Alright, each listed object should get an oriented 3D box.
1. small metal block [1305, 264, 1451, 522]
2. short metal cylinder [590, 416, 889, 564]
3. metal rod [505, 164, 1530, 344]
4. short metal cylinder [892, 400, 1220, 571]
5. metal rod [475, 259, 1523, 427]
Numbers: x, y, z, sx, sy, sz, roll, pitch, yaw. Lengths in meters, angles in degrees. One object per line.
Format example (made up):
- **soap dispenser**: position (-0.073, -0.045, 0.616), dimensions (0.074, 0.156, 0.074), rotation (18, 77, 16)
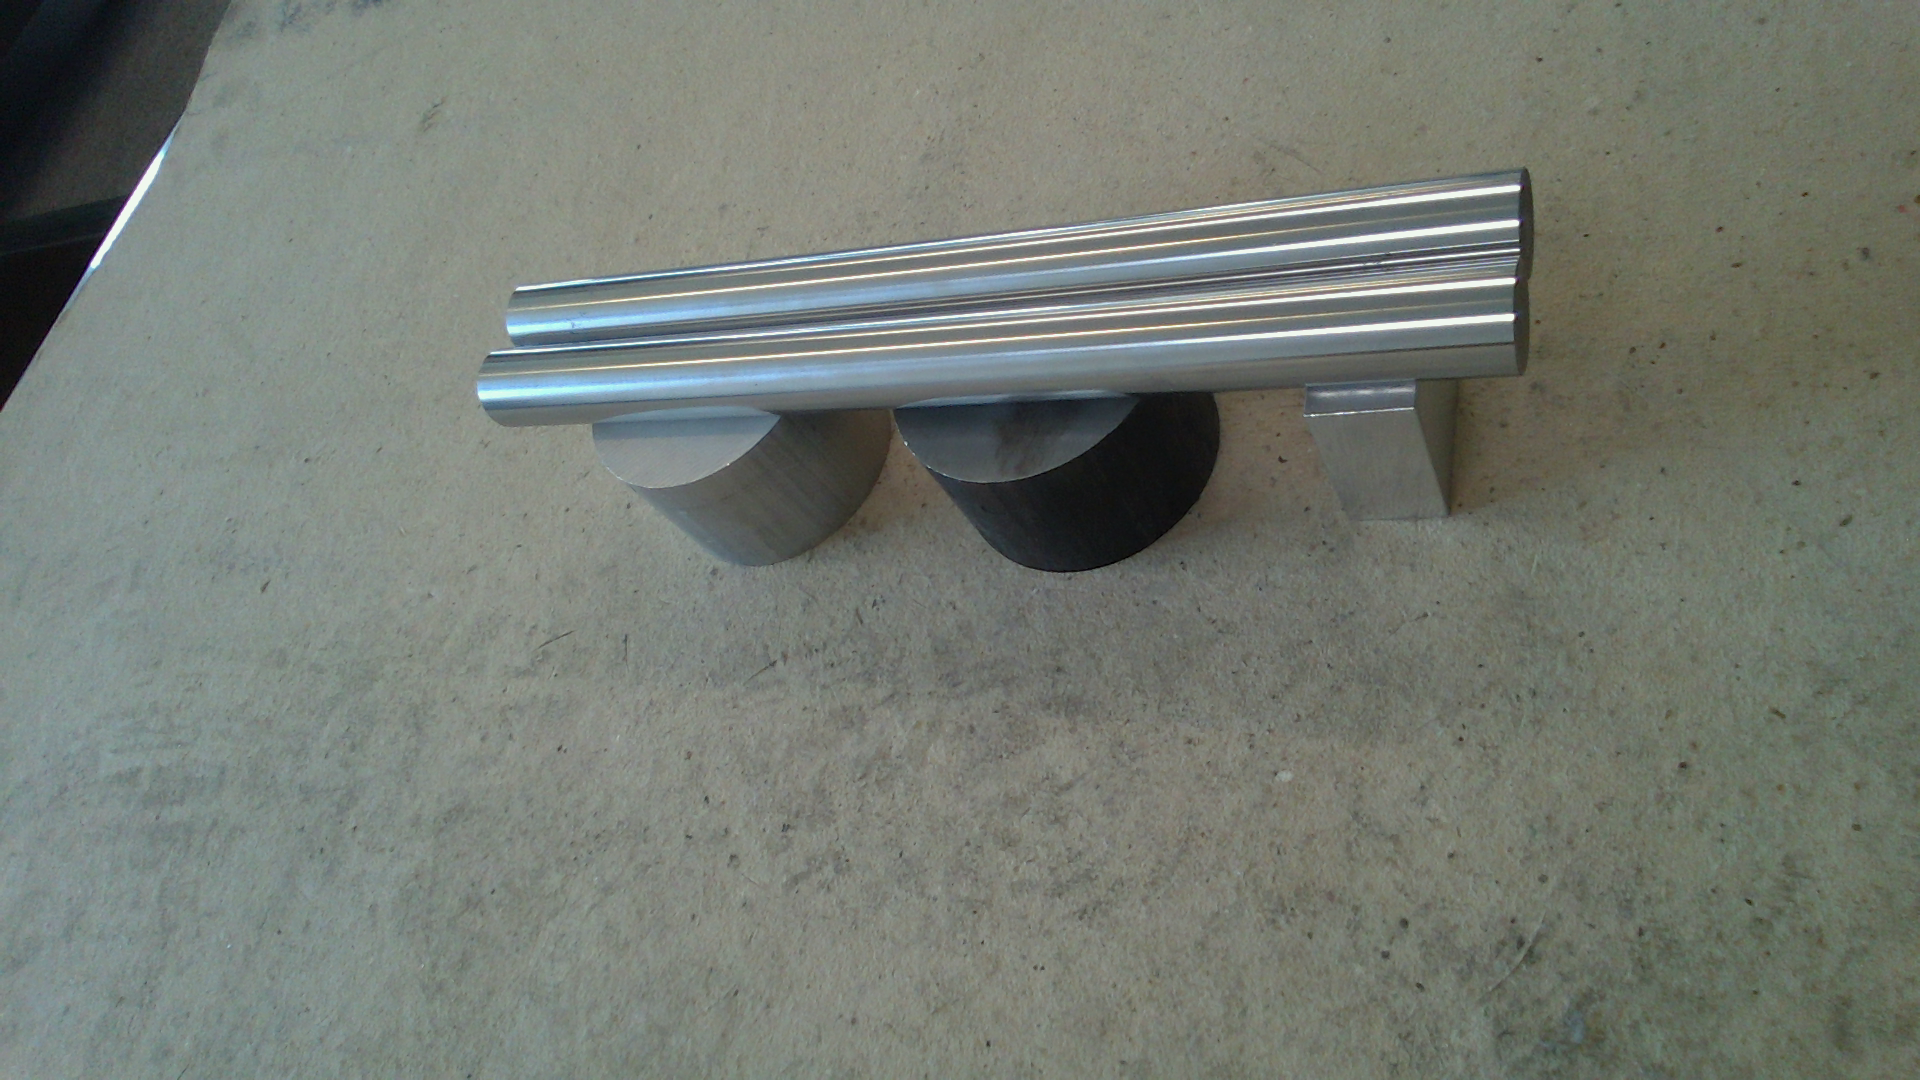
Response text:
- **small metal block**: position (0.107, -0.039, 0.346), dimensions (0.025, 0.050, 0.050), rotation (-1, 60, 28)
- **short metal cylinder**: position (-0.070, -0.039, 0.439), dimensions (0.080, 0.050, 0.080), rotation (-13, 56, 21)
- **metal rod**: position (-0.007, -0.071, 0.376), dimensions (0.299, 0.025, 0.025), rotation (0, 62, 28)
- **short metal cylinder**: position (0.027, -0.038, 0.387), dimensions (0.080, 0.050, 0.080), rotation (-13, 56, 21)
- **metal rod**: position (-0.012, -0.048, 0.364), dimensions (0.299, 0.025, 0.025), rotation (0, 62, 28)
